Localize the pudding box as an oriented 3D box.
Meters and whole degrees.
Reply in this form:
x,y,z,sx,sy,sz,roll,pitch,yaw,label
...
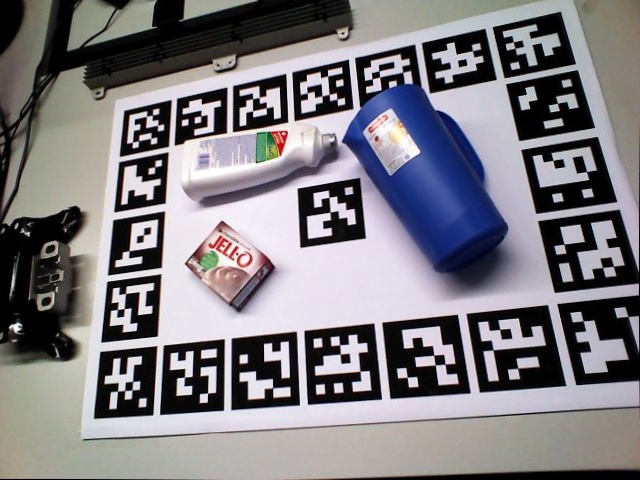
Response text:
x,y,z,sx,sy,sz,roll,pitch,yaw,label
-0.124,0.050,0.784,0.114,0.039,0.090,39,80,24,pudding box

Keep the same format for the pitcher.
x,y,z,sx,sy,sz,roll,pitch,yaw,label
0.174,-0.067,0.708,0.188,0.134,0.242,-18,67,-28,pitcher

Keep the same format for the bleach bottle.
x,y,z,sx,sy,sz,roll,pitch,yaw,label
-0.077,-0.122,0.824,0.252,0.068,0.102,-11,72,11,bleach bottle
